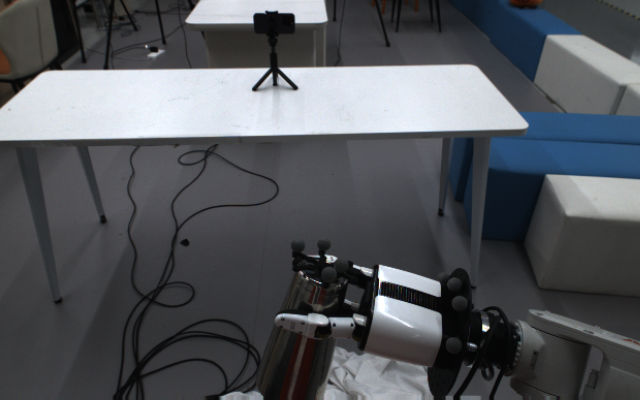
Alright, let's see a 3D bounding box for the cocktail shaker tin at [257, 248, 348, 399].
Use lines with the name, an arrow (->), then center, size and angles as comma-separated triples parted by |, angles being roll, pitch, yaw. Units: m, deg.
cocktail shaker tin -> -0.016, 0.161, 0.609 | 0.093, 0.170, 0.093 | 14, 18, -5
